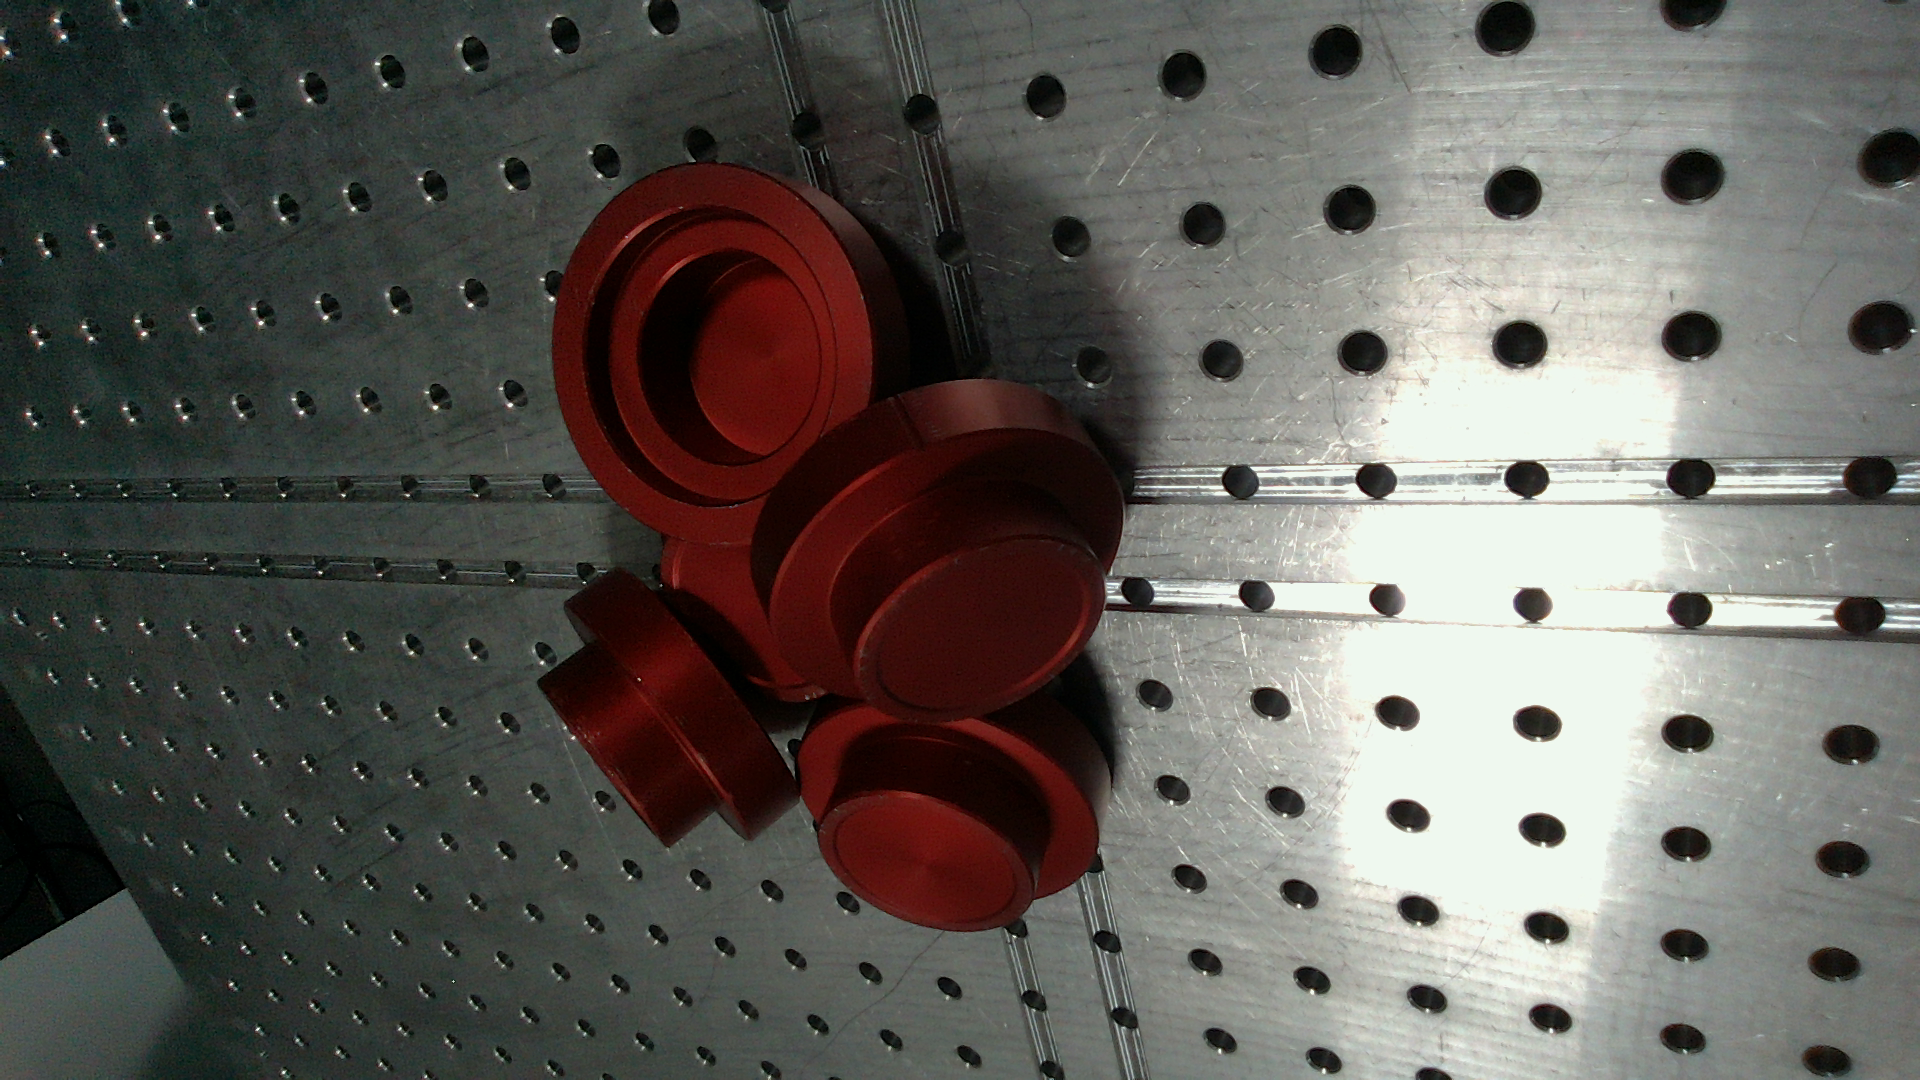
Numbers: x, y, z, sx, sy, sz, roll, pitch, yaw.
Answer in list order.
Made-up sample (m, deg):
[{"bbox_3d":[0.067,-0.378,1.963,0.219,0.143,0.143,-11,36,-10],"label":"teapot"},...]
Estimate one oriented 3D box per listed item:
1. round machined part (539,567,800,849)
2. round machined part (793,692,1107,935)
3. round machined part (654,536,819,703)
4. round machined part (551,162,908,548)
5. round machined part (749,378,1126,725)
[{"bbox_3d":[-0.099,0.060,0.444,0.098,0.042,0.098,44,160,21],"label":"round machined part"},{"bbox_3d":[-0.006,0.084,0.424,0.098,0.042,0.098,10,133,12],"label":"round machined part"},{"bbox_3d":[-0.053,0.010,0.418,0.098,0.042,0.098,13,124,21],"label":"round machined part"},{"bbox_3d":[-0.058,-0.049,0.371,0.098,0.042,0.098,3,99,23],"label":"round machined part"},{"bbox_3d":[-0.001,0.010,0.353,0.042,0.098,0.098,61,142,39],"label":"round machined part"}]
